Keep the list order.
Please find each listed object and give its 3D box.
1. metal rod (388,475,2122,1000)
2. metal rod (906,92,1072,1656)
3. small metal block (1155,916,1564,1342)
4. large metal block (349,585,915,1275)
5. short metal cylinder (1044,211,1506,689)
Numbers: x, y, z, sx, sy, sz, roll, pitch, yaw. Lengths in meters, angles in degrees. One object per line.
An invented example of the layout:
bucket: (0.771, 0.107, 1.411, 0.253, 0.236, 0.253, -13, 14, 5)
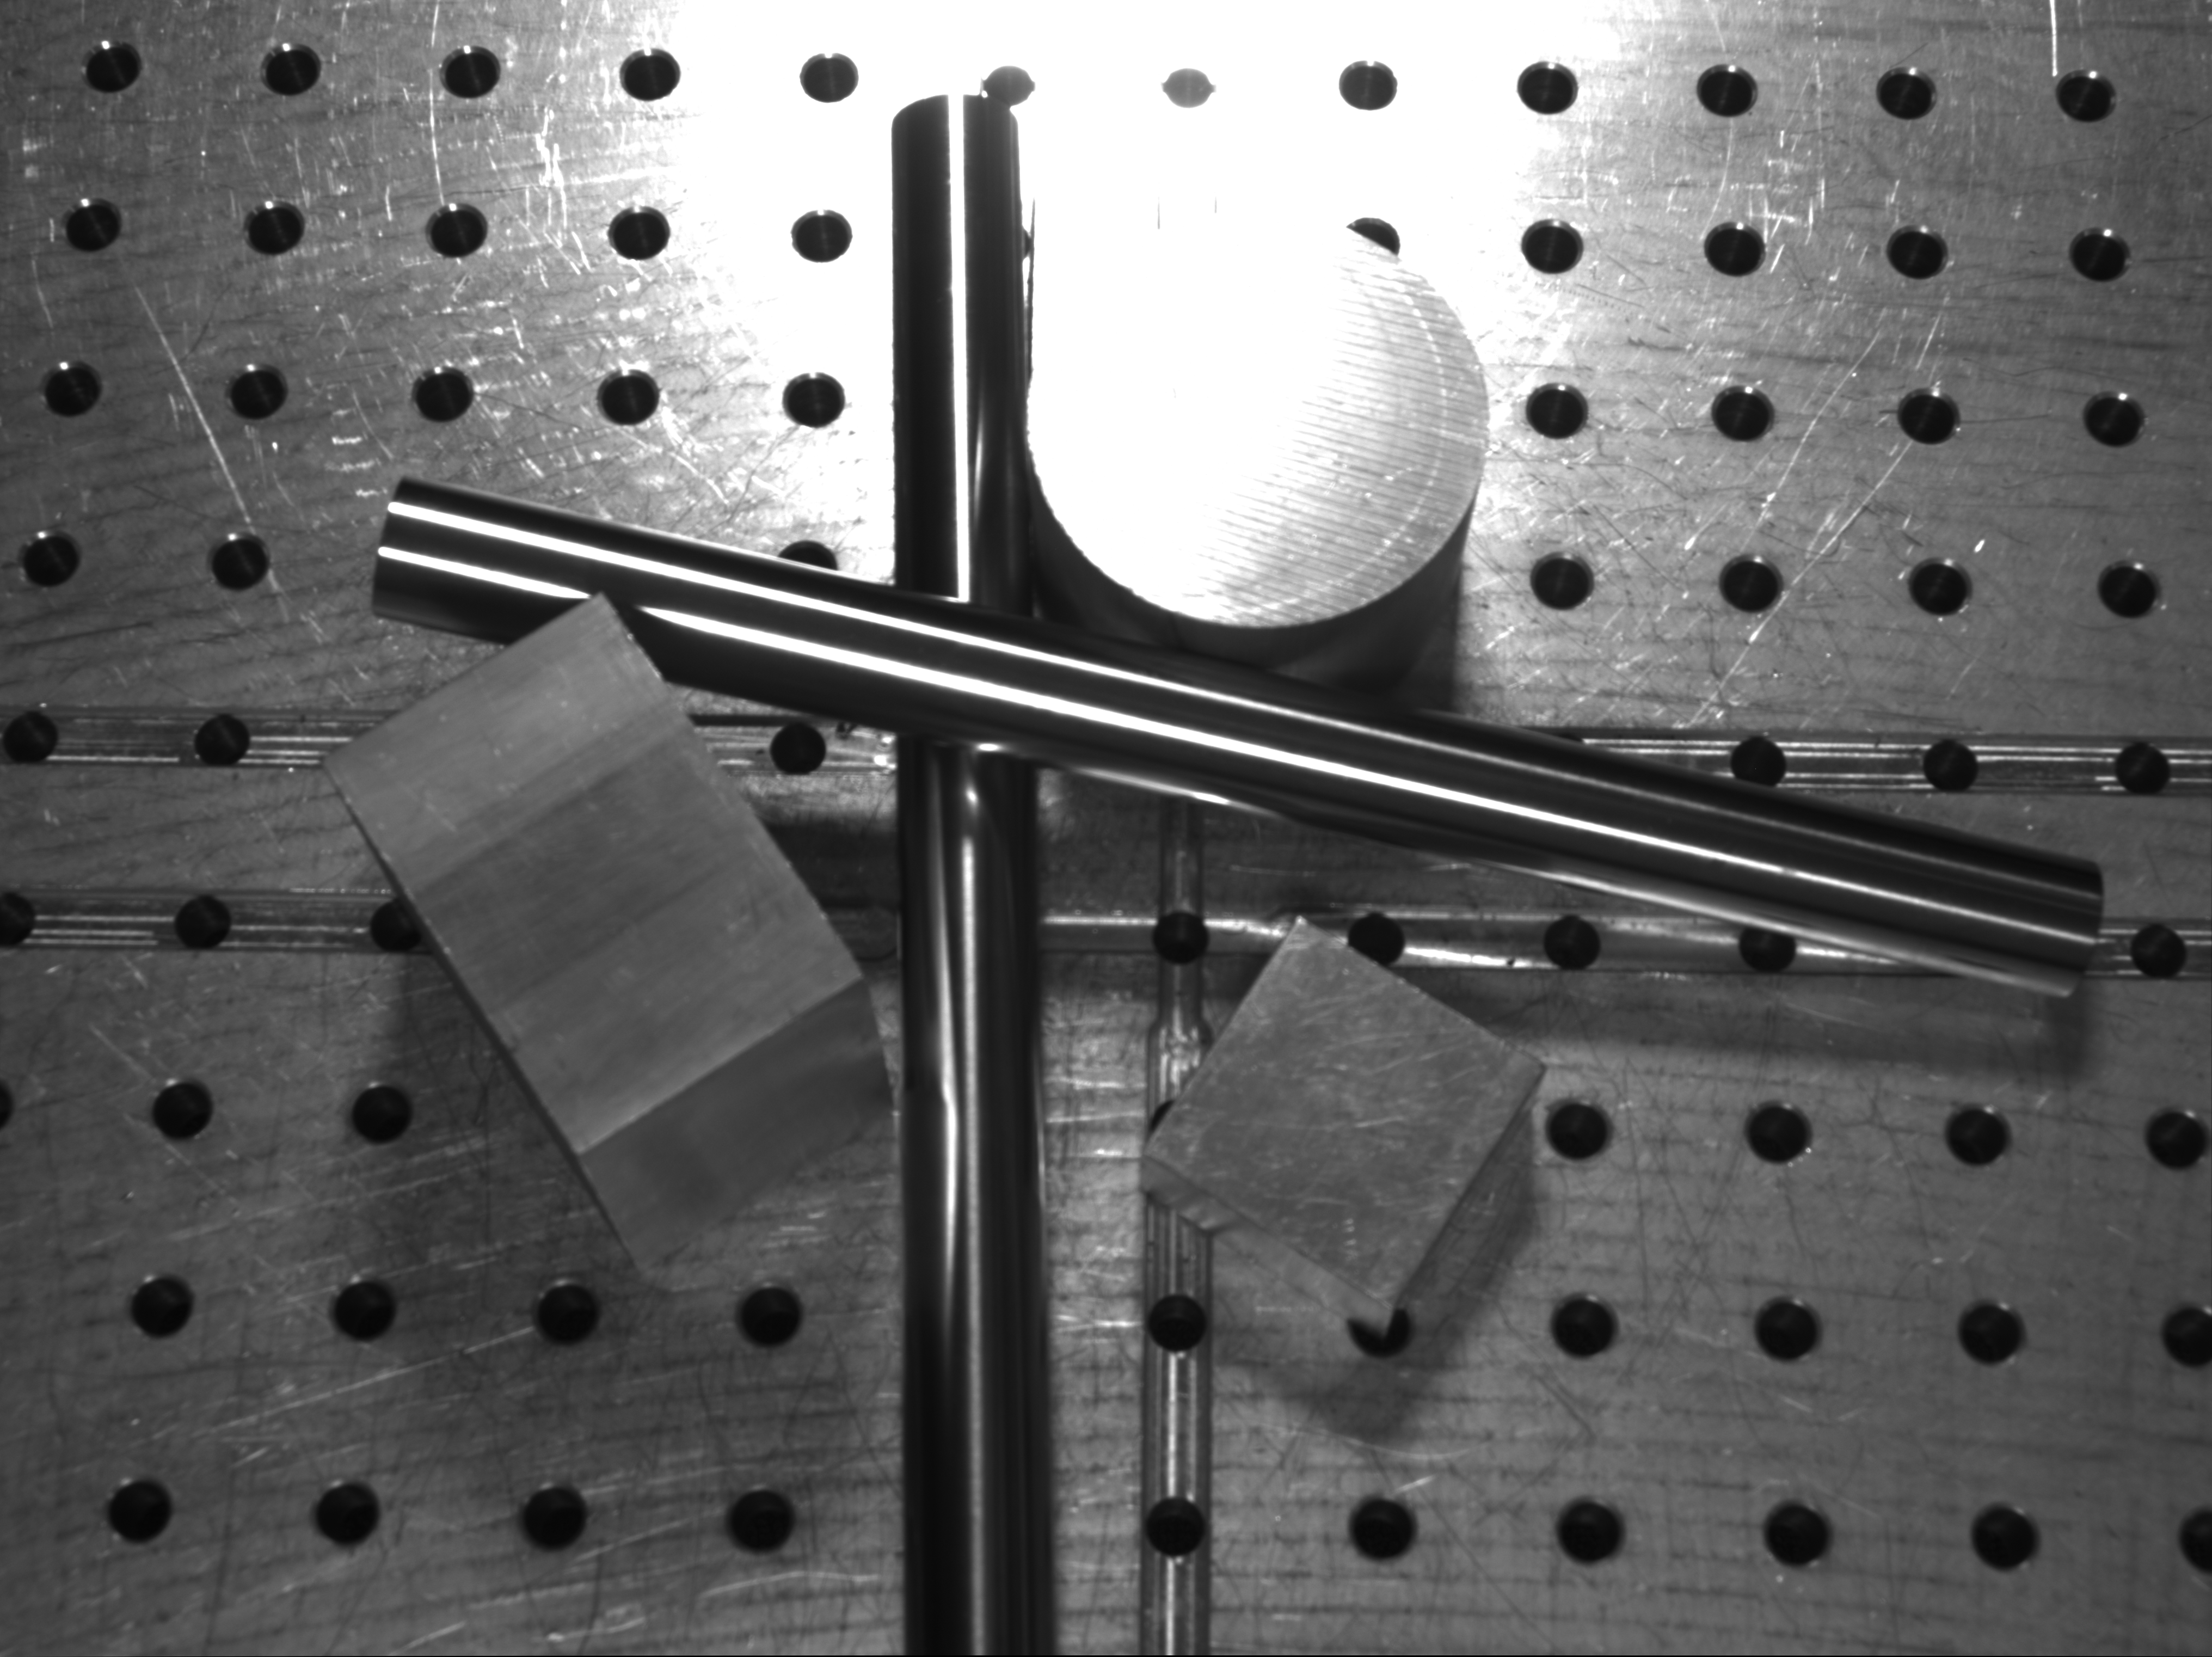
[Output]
metal rod: (0.027, -0.015, 0.633, 0.300, 0.025, 0.025, 13, 70, -3)
metal rod: (-0.022, 0.007, 0.645, 0.025, 0.025, 0.300, -1, 70, 0)
small metal block: (0.043, 0.052, 0.629, 0.050, 0.025, 0.050, 32, 73, 11)
large metal block: (-0.076, 0.019, 0.610, 0.050, 0.080, 0.080, -33, 73, -11)
short metal cylinder: (0.029, -0.063, 0.657, 0.080, 0.050, 0.080, 0, 70, 0)
